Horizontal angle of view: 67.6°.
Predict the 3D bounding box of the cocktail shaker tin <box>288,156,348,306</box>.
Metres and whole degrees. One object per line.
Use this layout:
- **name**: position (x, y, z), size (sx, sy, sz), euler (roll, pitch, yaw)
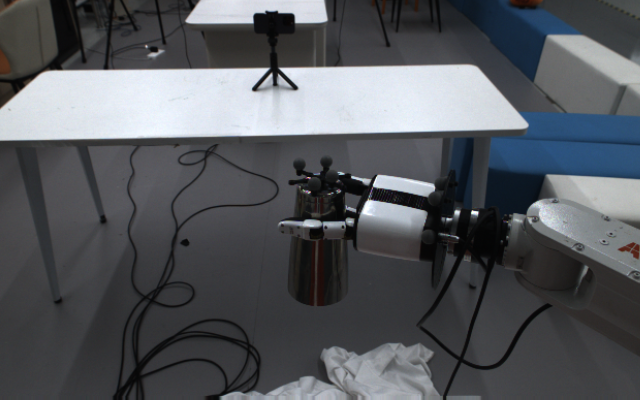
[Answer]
- **cocktail shaker tin**: position (0.001, 0.052, 0.695), size (0.093, 0.170, 0.093), euler (1, 27, -1)
